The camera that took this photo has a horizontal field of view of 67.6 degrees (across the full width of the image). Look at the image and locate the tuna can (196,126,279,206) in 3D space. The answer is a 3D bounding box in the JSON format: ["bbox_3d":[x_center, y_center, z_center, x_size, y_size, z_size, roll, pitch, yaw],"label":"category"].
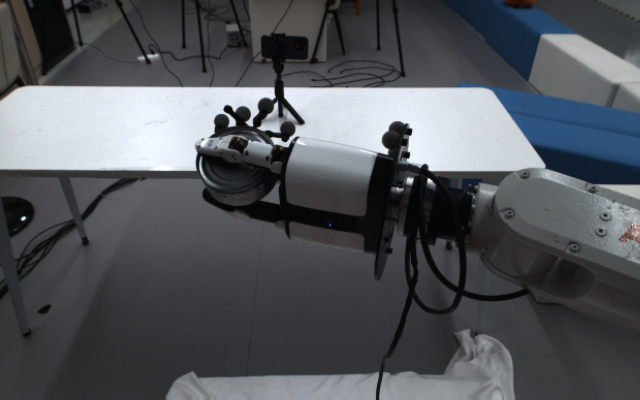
[{"bbox_3d":[-0.088,-0.038,0.525,0.085,0.034,0.085,-2,58,4],"label":"tuna can"}]
